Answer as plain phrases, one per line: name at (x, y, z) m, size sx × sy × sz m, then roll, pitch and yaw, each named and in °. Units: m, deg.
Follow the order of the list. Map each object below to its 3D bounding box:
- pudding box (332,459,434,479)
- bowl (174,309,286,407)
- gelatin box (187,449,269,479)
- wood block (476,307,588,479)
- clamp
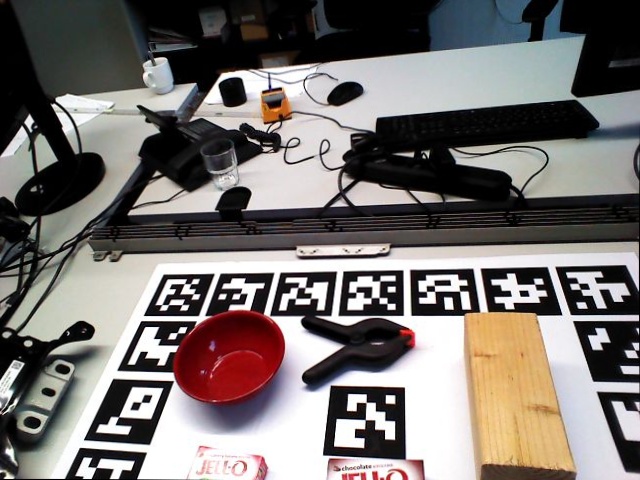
pudding box at (0.067, 0.287, 0.558) m, size 0.114 × 0.039 × 0.089 m, roll -5°, pitch 44°, yaw 12°
bowl at (-0.120, 0.177, 0.735) m, size 0.162 × 0.055 × 0.161 m, roll -7°, pitch 43°, yaw 6°
gelatin box at (-0.114, 0.290, 0.606) m, size 0.090 × 0.030 × 0.073 m, roll 2°, pitch 43°, yaw 17°
wood block at (0.232, 0.183, 0.595) m, size 0.090 × 0.091 × 0.205 m, roll -1°, pitch 41°, yaw 12°
clamp at (0.046, 0.149, 0.741) m, size 0.165 × 0.037 × 0.121 m, roll -9°, pitch 39°, yaw 2°
